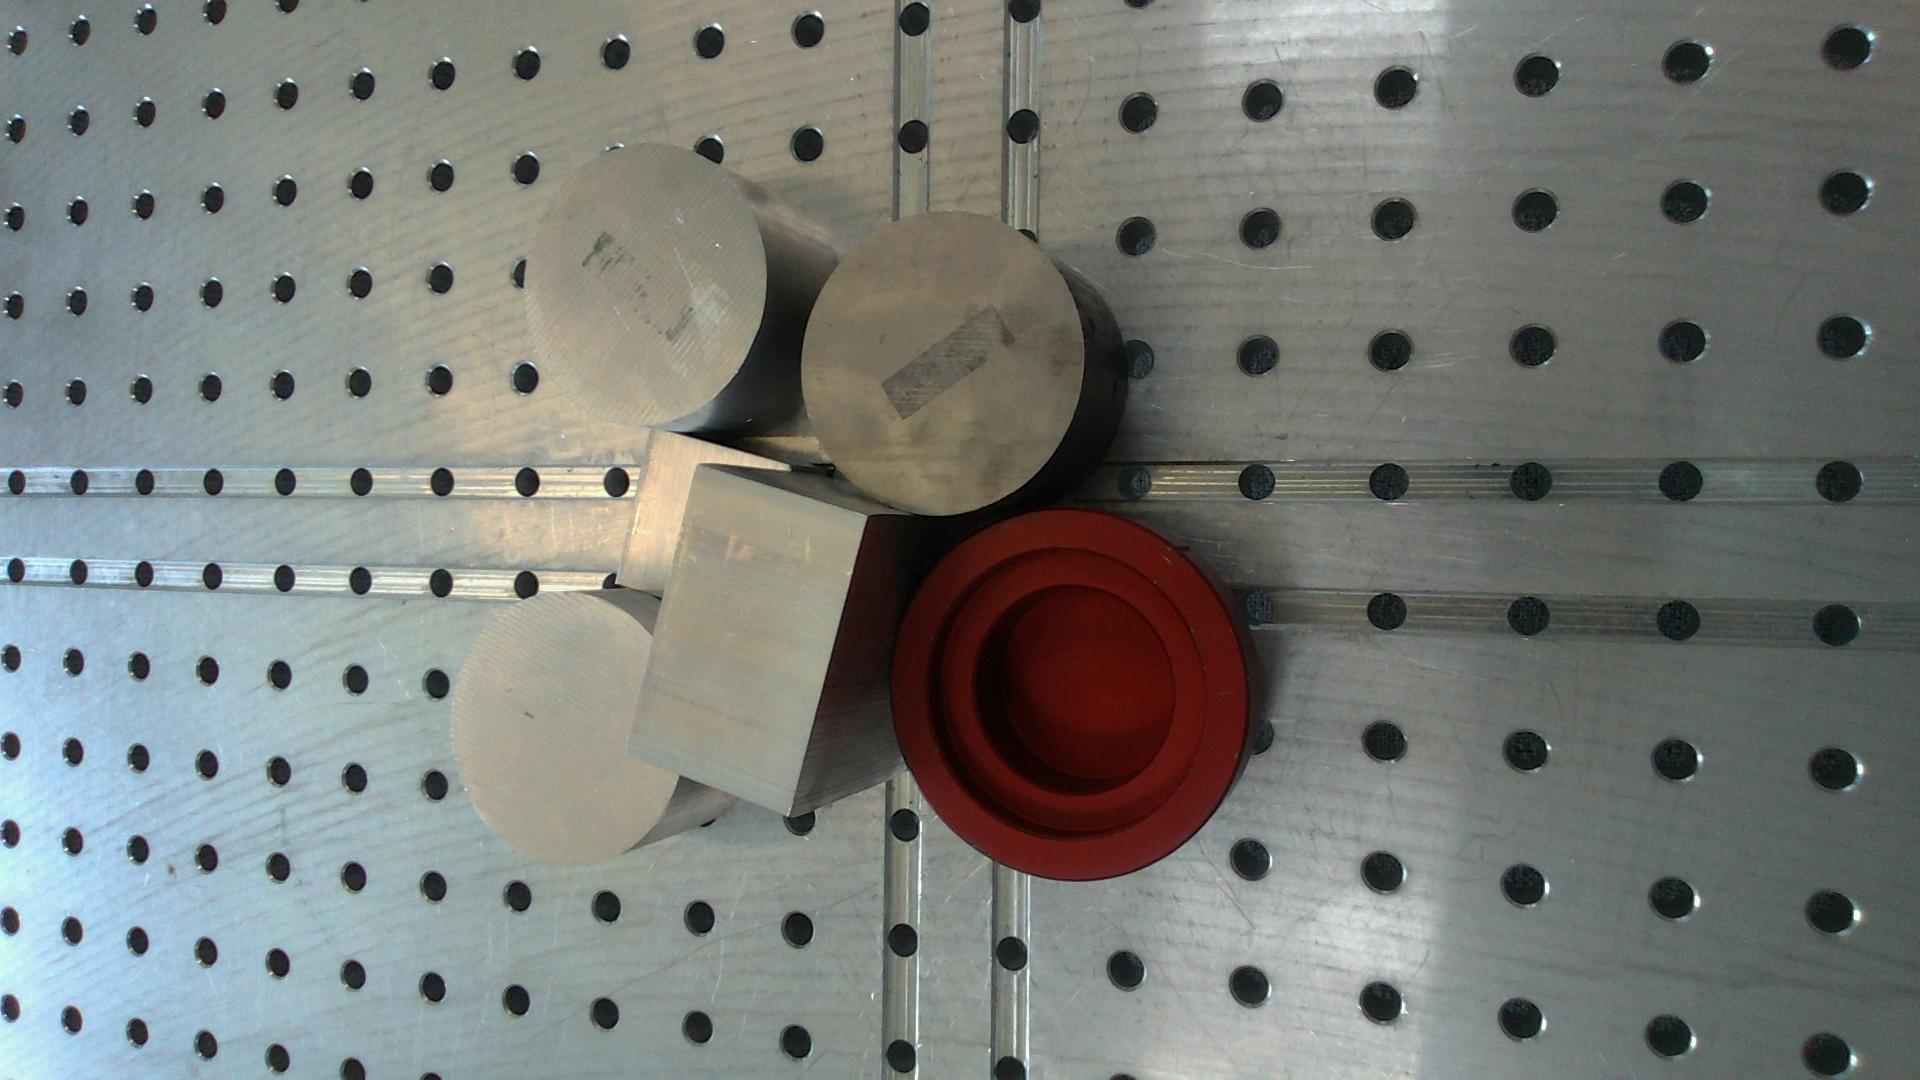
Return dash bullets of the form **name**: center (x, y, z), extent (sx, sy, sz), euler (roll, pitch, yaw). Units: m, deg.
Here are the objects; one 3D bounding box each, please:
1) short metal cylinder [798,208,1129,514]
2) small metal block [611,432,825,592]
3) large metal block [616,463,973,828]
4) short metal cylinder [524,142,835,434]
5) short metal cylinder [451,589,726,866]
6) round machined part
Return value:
- **short metal cylinder**: center (0.002, -0.047, 0.384), extent (0.080, 0.050, 0.080), euler (0, 90, 20)
- **small metal block**: center (-0.075, -0.005, 0.425), extent (0.050, 0.025, 0.050), euler (16, 95, 19)
- **large metal block**: center (-0.042, 0.026, 0.381), extent (0.050, 0.080, 0.080), euler (17, 96, 19)
- **short metal cylinder**: center (-0.082, -0.073, 0.414), extent (0.080, 0.050, 0.080), euler (0, 90, 20)
- **short metal cylinder**: center (-0.107, 0.055, 0.423), extent (0.080, 0.050, 0.080), euler (0, 90, 20)
- **round machined part**: center (0.033, 0.040, 0.377), extent (0.098, 0.042, 0.098), euler (0, 90, 20)
